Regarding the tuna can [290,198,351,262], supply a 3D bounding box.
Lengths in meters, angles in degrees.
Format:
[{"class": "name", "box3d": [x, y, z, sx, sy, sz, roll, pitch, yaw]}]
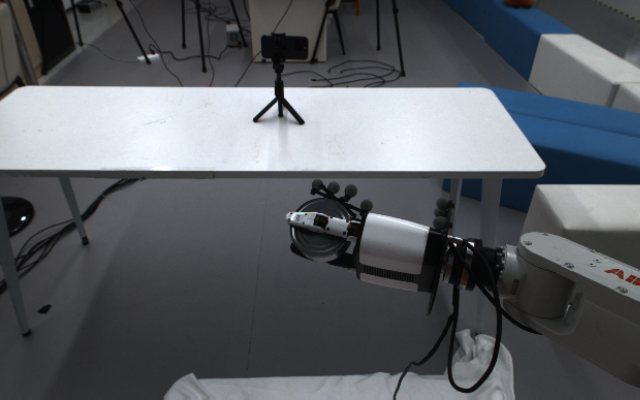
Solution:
[{"class": "tuna can", "box3d": [0.005, 0.041, 0.676, 0.085, 0.034, 0.085, -4, 67, 10]}]
